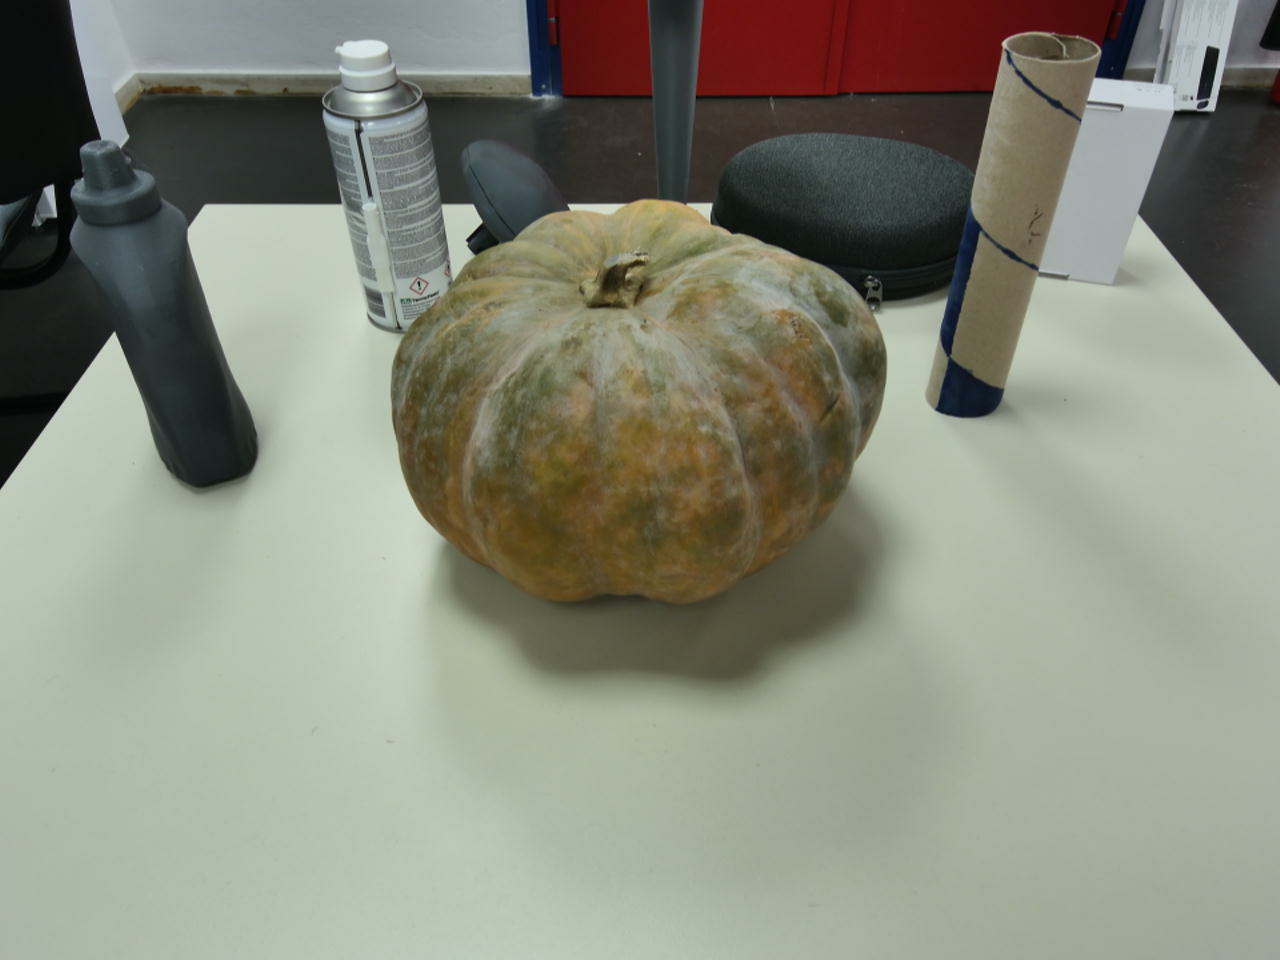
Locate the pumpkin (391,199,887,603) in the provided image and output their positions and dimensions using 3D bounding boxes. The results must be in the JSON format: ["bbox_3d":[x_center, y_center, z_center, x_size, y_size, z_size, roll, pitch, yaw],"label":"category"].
[{"bbox_3d":[-0.008,-0.044,0.527,0.252,0.169,0.251,0,39,0],"label":"pumpkin"}]
